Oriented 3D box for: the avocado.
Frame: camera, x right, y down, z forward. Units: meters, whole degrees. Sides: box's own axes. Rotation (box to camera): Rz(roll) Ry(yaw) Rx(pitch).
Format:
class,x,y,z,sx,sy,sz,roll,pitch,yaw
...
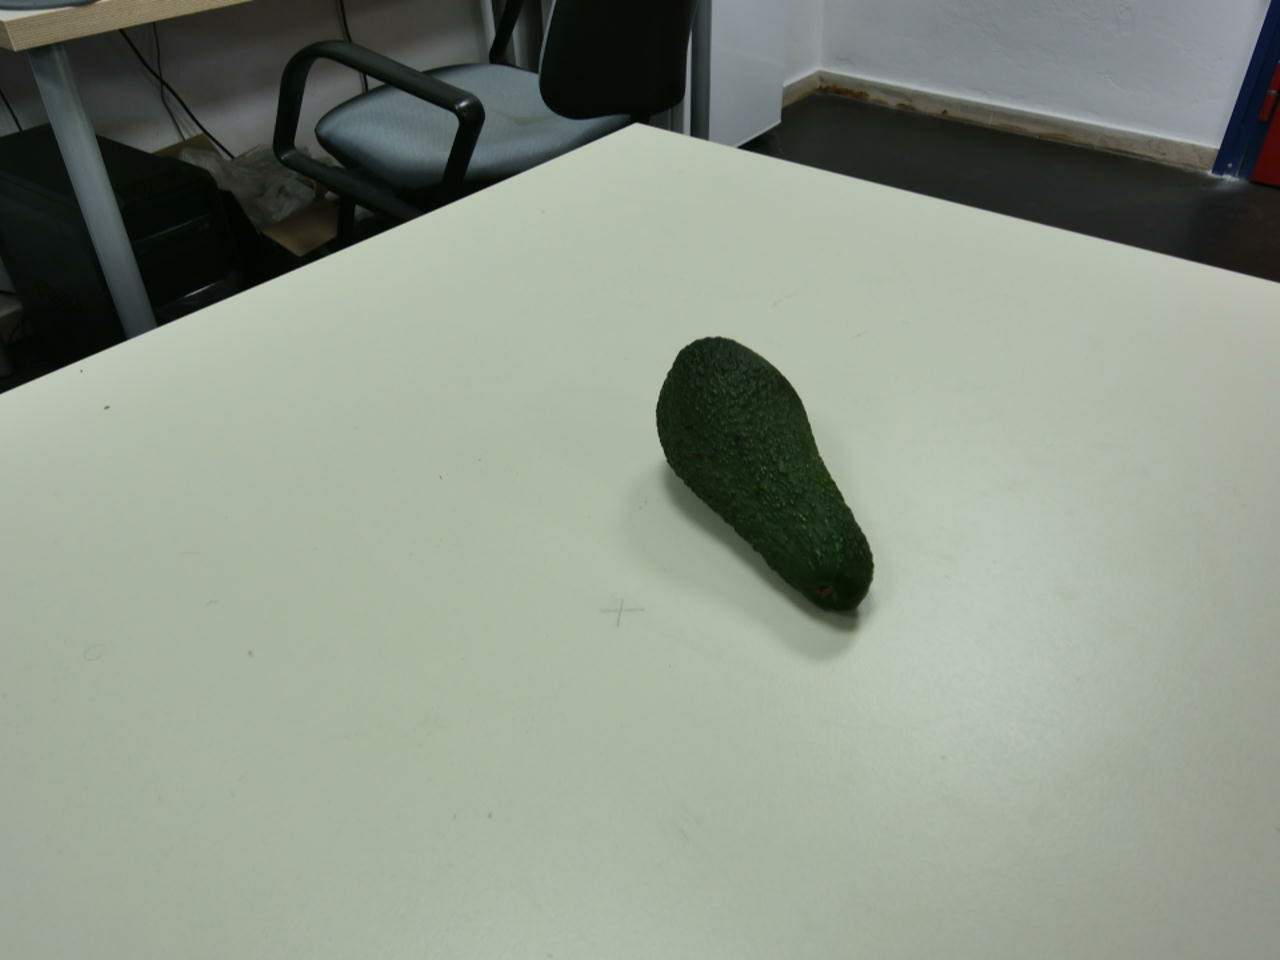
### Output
class,x,y,z,sx,sy,sz,roll,pitch,yaw
avocado,0.056,-0.011,0.419,0.063,0.067,0.141,-23,41,-27
